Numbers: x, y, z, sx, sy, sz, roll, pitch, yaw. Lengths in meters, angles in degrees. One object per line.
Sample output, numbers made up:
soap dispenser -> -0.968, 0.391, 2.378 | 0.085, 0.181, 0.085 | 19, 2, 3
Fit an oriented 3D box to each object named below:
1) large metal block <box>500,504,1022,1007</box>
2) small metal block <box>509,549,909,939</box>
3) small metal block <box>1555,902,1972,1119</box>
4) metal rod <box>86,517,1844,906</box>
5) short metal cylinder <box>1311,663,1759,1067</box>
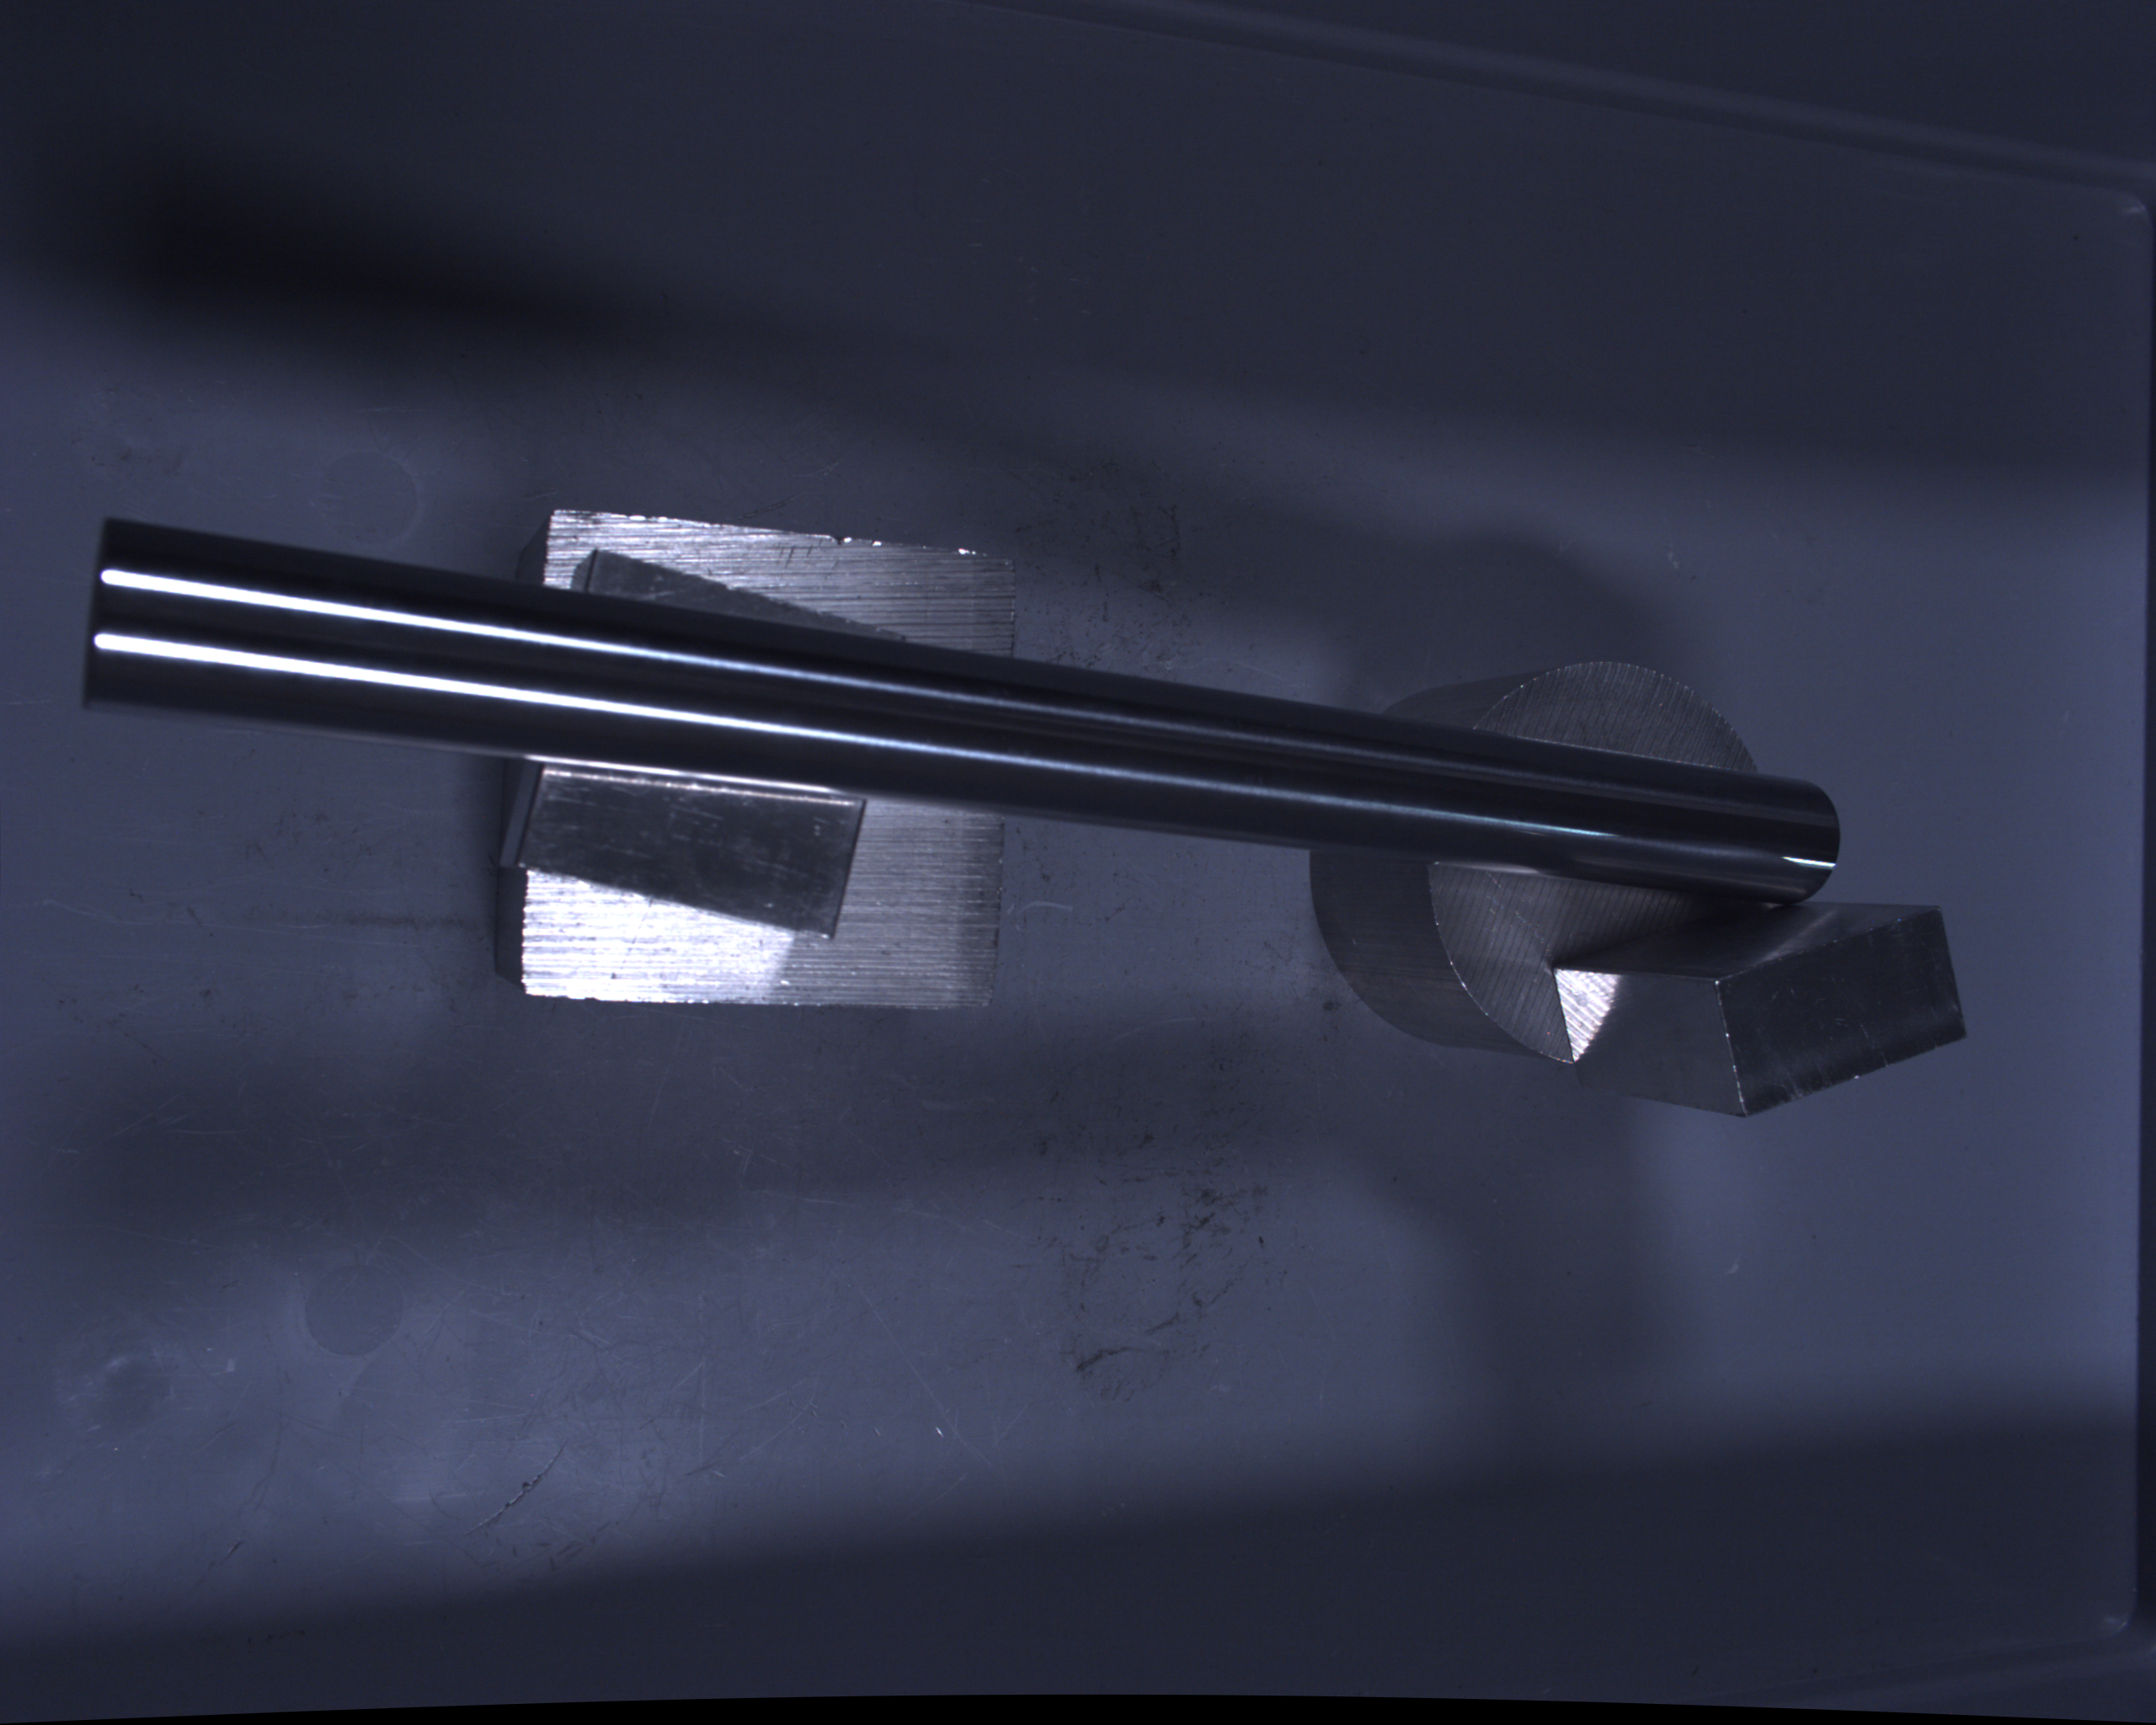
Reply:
large metal block -> -0.058, -0.017, 0.373 | 0.081, 0.050, 0.079 | 3, 89, -20
small metal block -> -0.060, -0.018, 0.334 | 0.050, 0.025, 0.050 | 14, 85, -20
small metal block -> 0.127, 0.026, 0.390 | 0.050, 0.050, 0.025 | -15, 96, -20
metal rod -> 0.007, -0.018, 0.338 | 0.302, 0.025, 0.025 | 6, 88, -28
short metal cylinder -> 0.096, 0.001, 0.432 | 0.081, 0.050, 0.079 | 0, 90, -21
